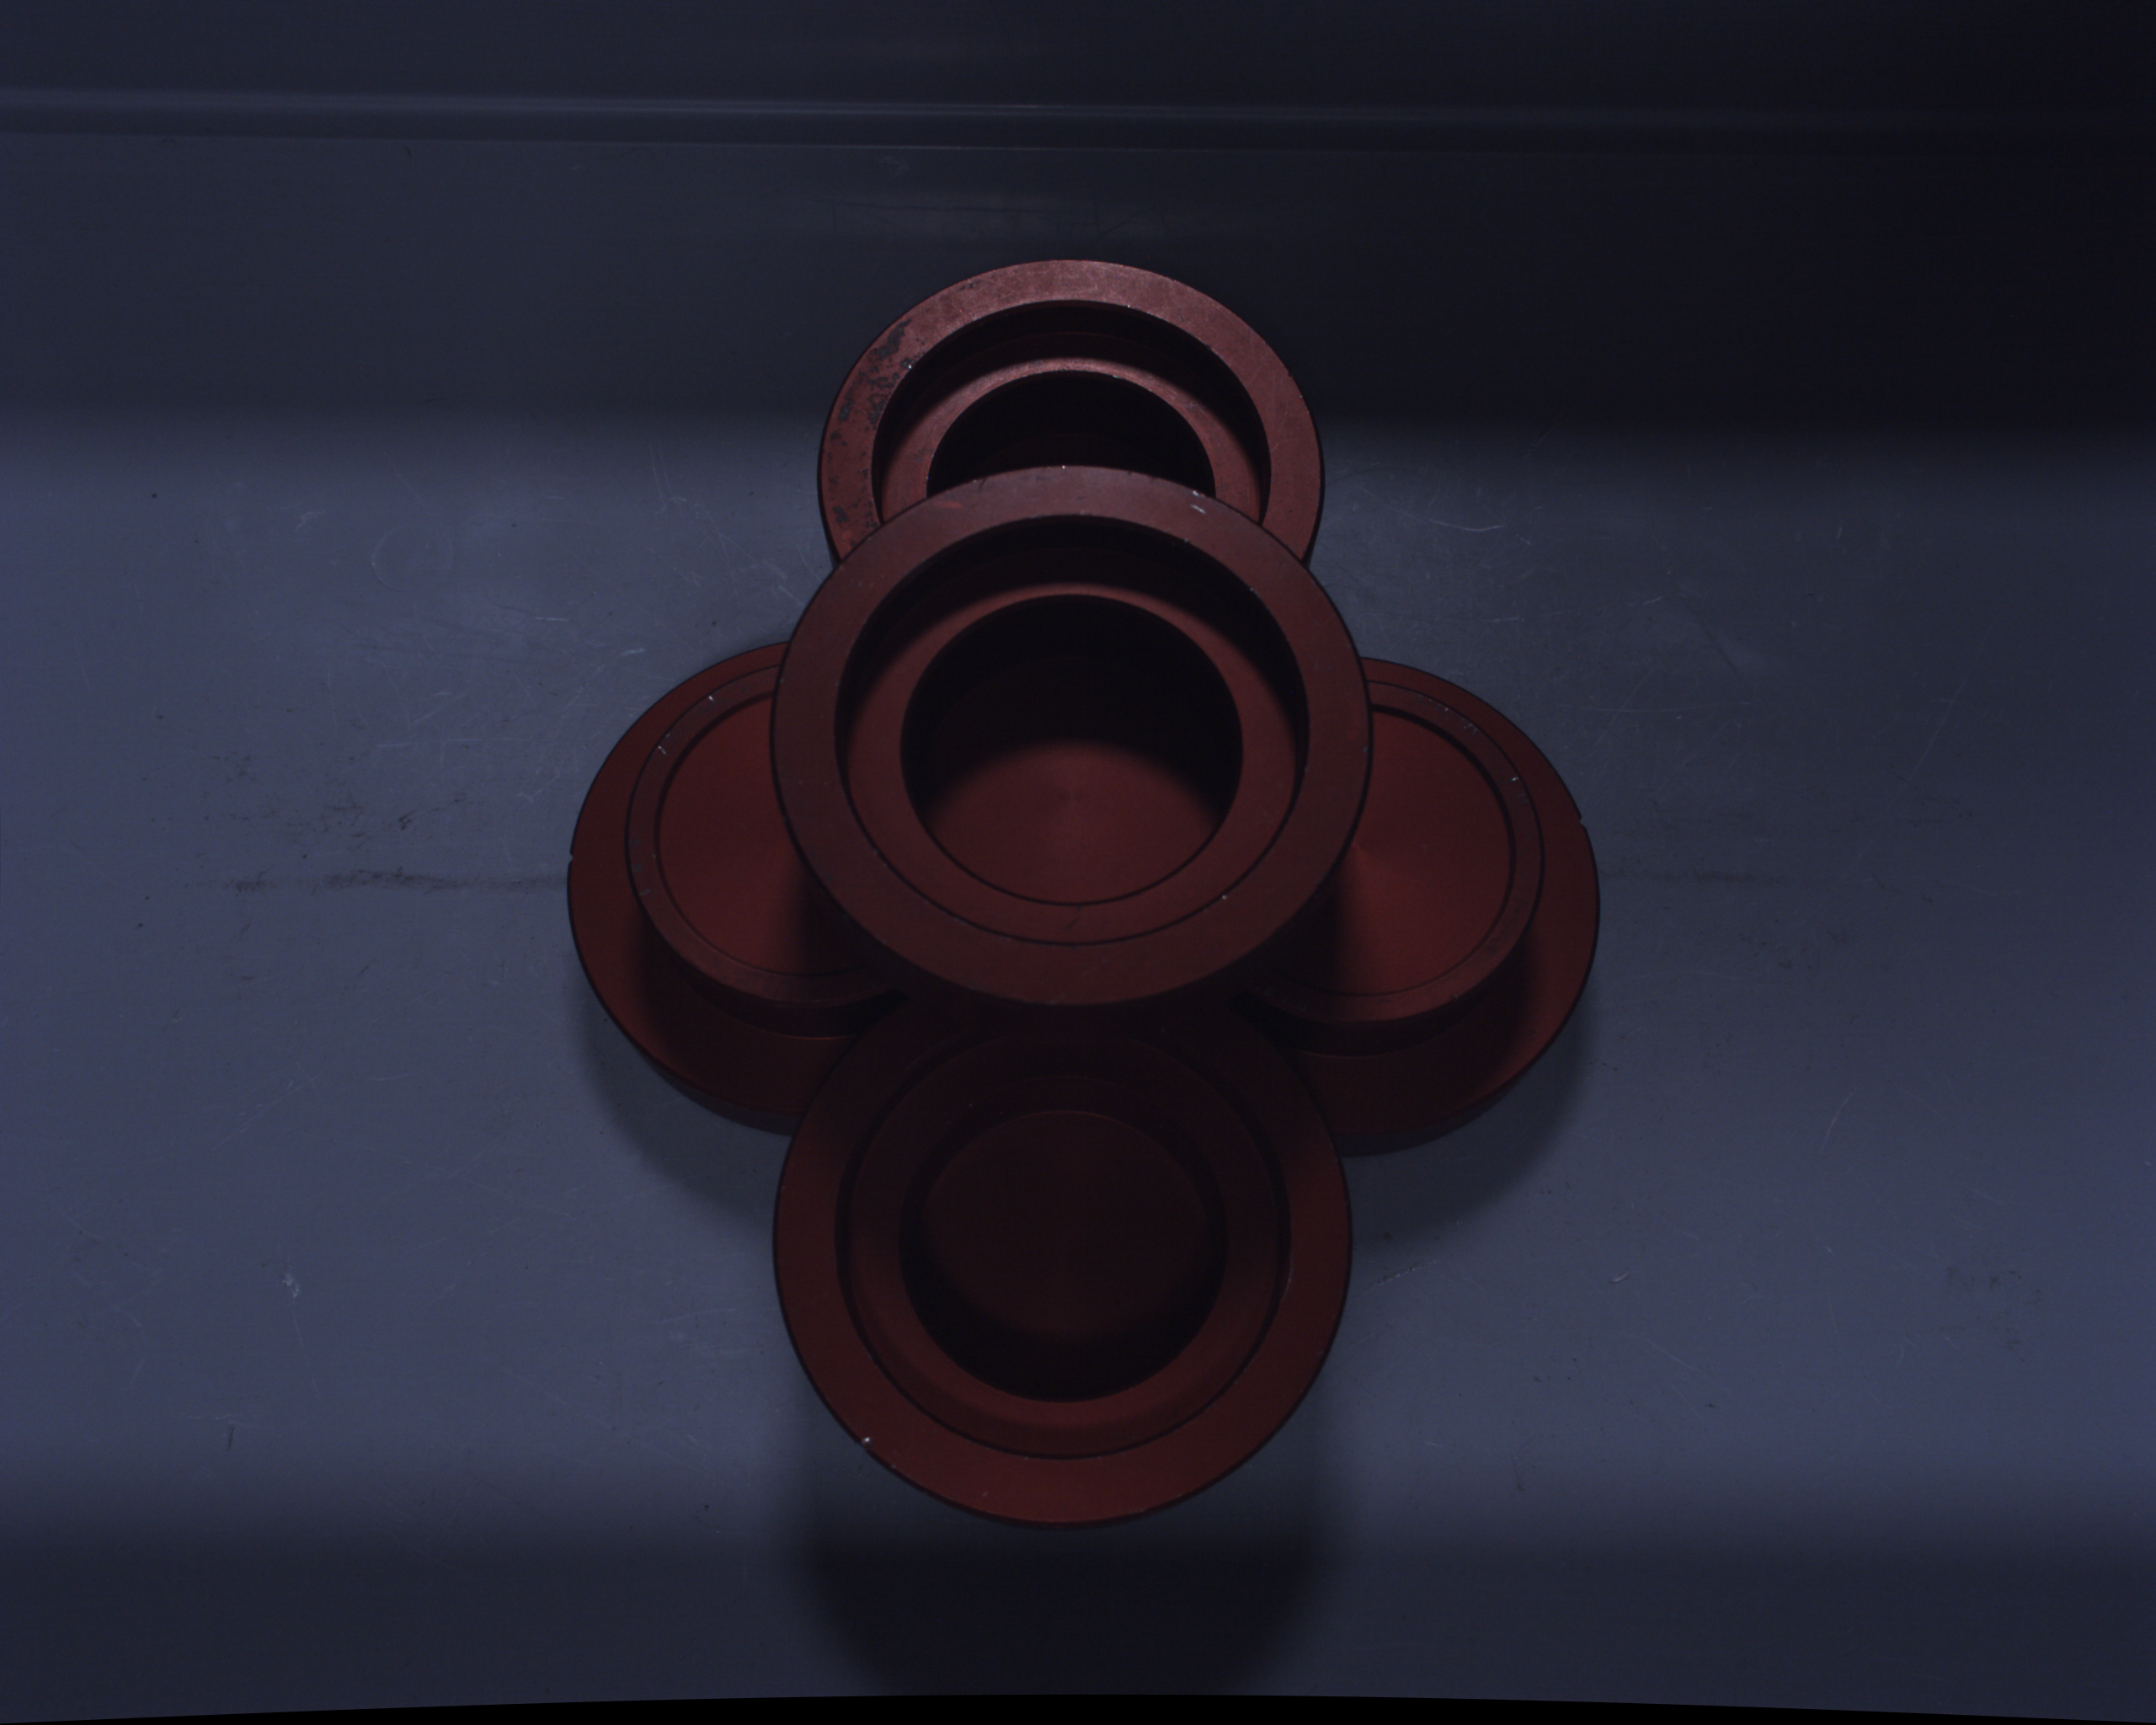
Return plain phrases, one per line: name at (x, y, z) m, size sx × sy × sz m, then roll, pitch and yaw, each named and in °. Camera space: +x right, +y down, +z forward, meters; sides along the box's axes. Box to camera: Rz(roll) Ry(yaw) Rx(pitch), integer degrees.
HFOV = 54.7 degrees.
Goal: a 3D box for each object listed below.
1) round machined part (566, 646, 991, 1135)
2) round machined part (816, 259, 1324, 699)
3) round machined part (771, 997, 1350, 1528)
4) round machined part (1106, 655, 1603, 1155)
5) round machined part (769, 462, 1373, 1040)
round machined part at (-0.048, 0.001, 0.398) m, size 0.099 × 0.042 × 0.098 m, roll 0°, pitch 70°, yaw -1°
round machined part at (-0.001, -0.070, 0.424) m, size 0.099 × 0.042 × 0.098 m, roll 0°, pitch 70°, yaw -1°
round machined part at (-0.003, 0.069, 0.373) m, size 0.099 × 0.042 × 0.098 m, roll 0°, pitch 70°, yaw -1°
round machined part at (0.051, 0.004, 0.397) m, size 0.099 × 0.042 × 0.098 m, roll 0°, pitch 70°, yaw -1°
round machined part at (-0.001, -0.016, 0.360) m, size 0.099 × 0.042 × 0.098 m, roll 0°, pitch 70°, yaw -1°
